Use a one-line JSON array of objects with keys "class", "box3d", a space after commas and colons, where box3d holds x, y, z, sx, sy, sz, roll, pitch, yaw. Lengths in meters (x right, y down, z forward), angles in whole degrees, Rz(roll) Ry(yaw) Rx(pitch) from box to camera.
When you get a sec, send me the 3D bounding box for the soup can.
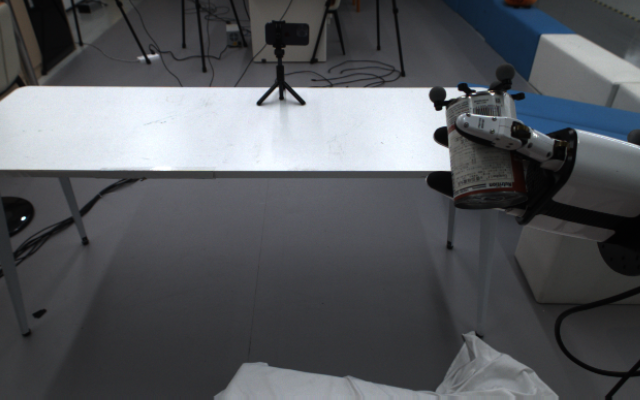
[{"class": "soup can", "box3d": [0.163, -0.050, 0.479, 0.067, 0.067, 0.101, -1, 76, -4]}]
